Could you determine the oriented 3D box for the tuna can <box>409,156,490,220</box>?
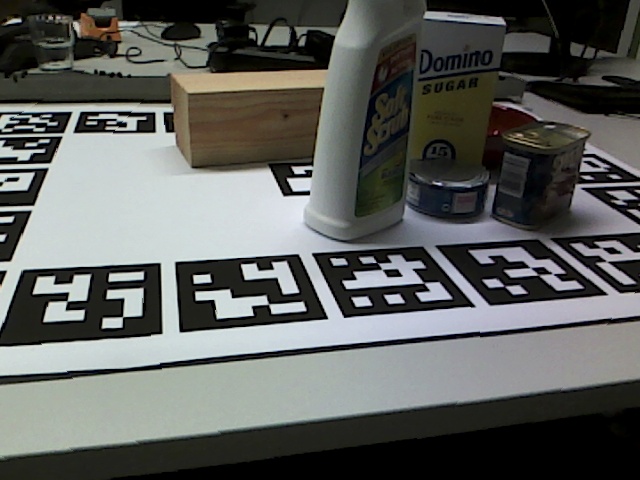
[{"bbox_3d":[0.127,-0.054,0.634,0.086,0.033,0.086,3,30,-2],"label":"tuna can"}]

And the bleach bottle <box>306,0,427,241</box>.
[{"bbox_3d":[0.042,-0.130,0.543,0.102,0.250,0.068,-18,33,-36],"label":"bleach bottle"}]

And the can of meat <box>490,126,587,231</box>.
[{"bbox_3d":[0.217,-0.064,0.623,0.101,0.083,0.058,-20,32,-41],"label":"can of meat"}]

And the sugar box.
[{"bbox_3d":[0.138,-0.146,0.660,0.093,0.176,0.045,3,29,7],"label":"sugar box"}]

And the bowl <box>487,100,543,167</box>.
[{"bbox_3d":[0.192,-0.132,0.778,0.161,0.055,0.162,-1,27,0],"label":"bowl"}]

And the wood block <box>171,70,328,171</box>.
[{"bbox_3d":[-0.069,-0.150,0.751,0.205,0.090,0.091,-8,33,-22],"label":"wood block"}]
